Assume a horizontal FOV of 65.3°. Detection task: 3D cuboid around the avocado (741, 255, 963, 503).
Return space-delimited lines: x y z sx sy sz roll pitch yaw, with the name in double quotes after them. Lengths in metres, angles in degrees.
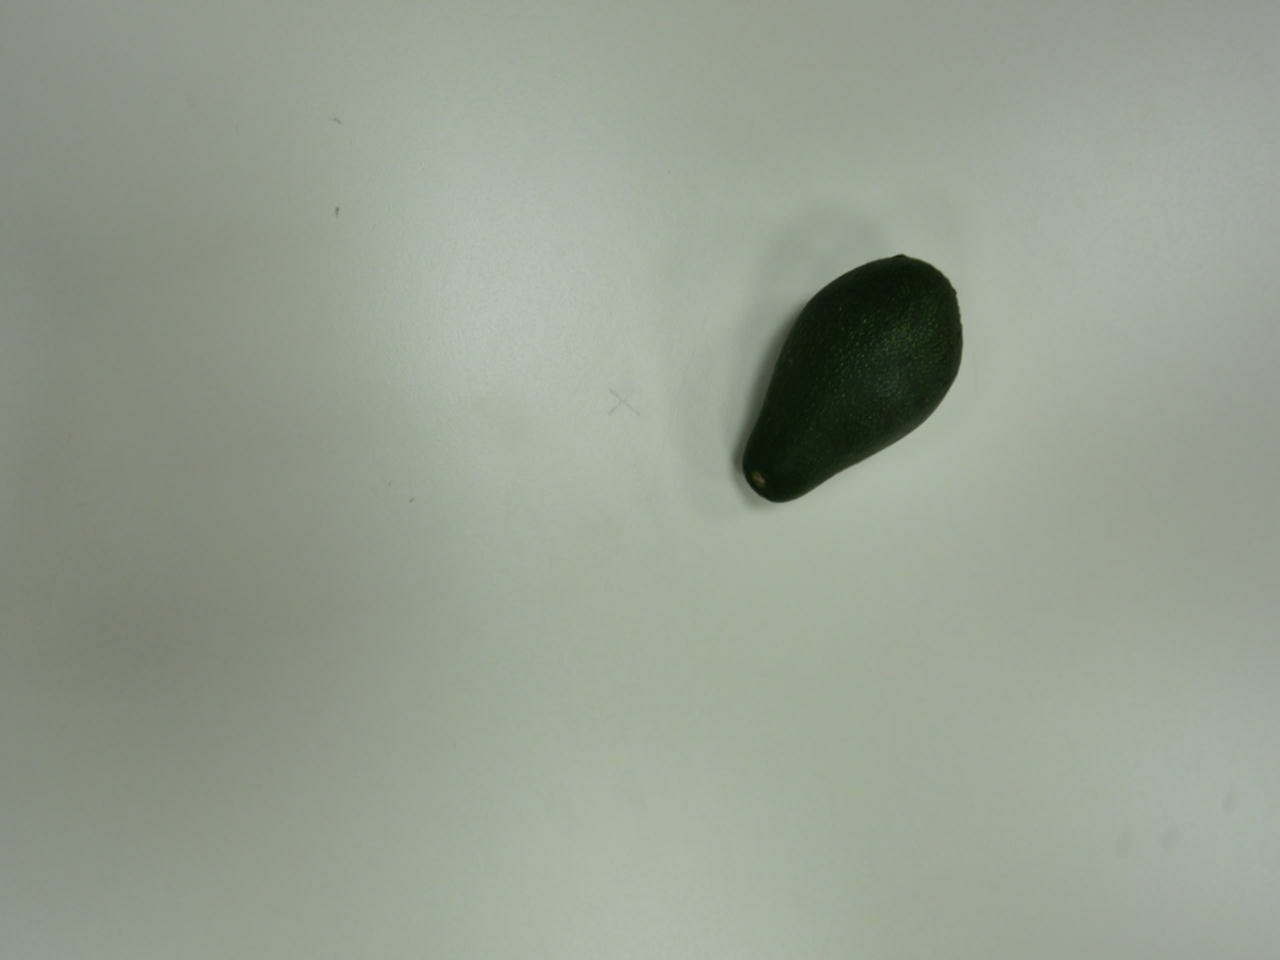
0.087 -0.044 0.422 0.109 0.071 0.072 -33 96 -9 "avocado"
